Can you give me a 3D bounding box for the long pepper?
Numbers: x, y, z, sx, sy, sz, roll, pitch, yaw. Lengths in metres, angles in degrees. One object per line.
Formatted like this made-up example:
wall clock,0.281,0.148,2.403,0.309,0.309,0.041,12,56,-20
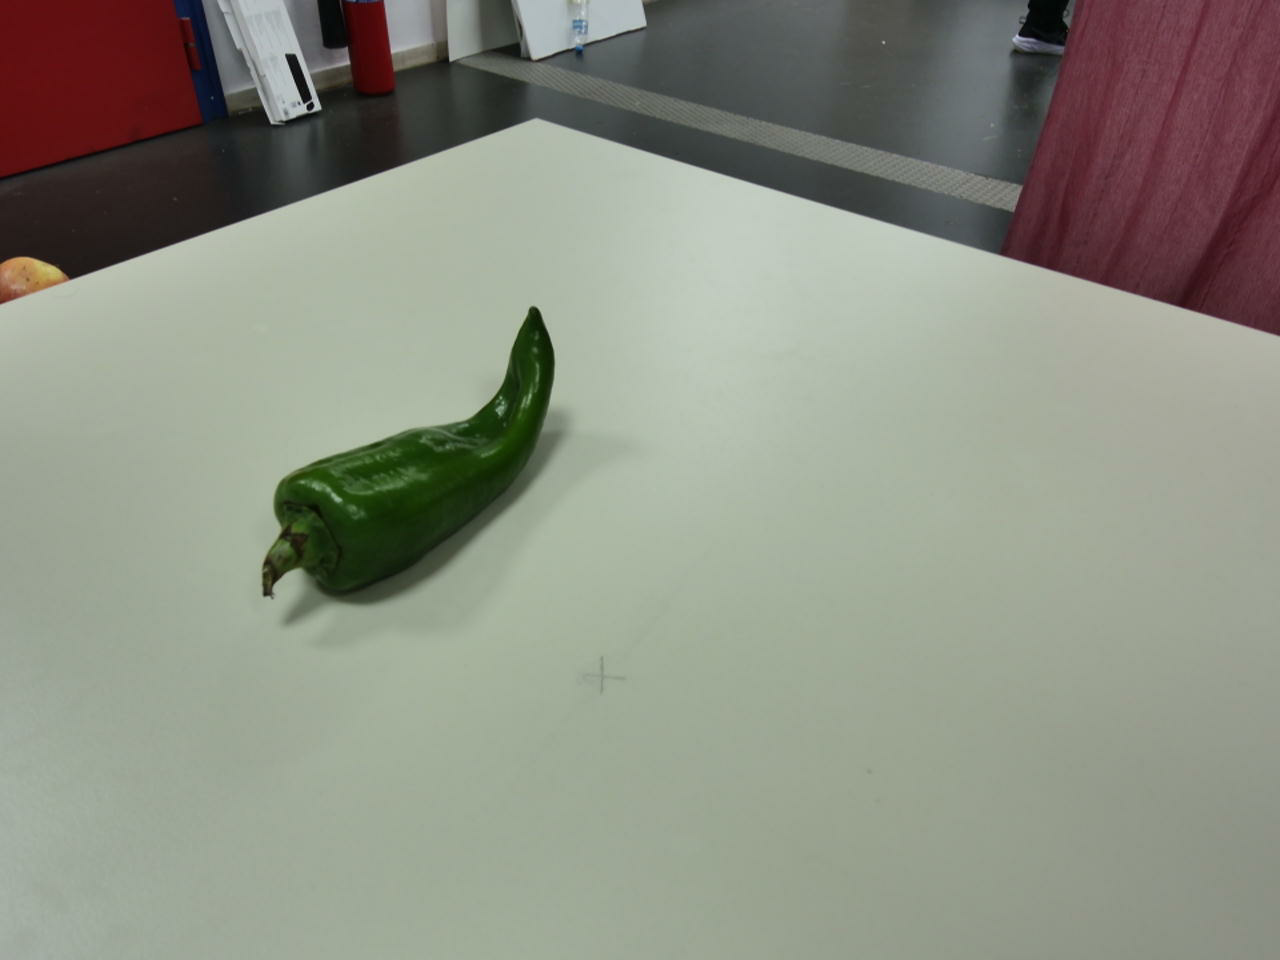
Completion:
long pepper,-0.088,-0.011,0.417,0.058,0.065,0.175,24,42,28
